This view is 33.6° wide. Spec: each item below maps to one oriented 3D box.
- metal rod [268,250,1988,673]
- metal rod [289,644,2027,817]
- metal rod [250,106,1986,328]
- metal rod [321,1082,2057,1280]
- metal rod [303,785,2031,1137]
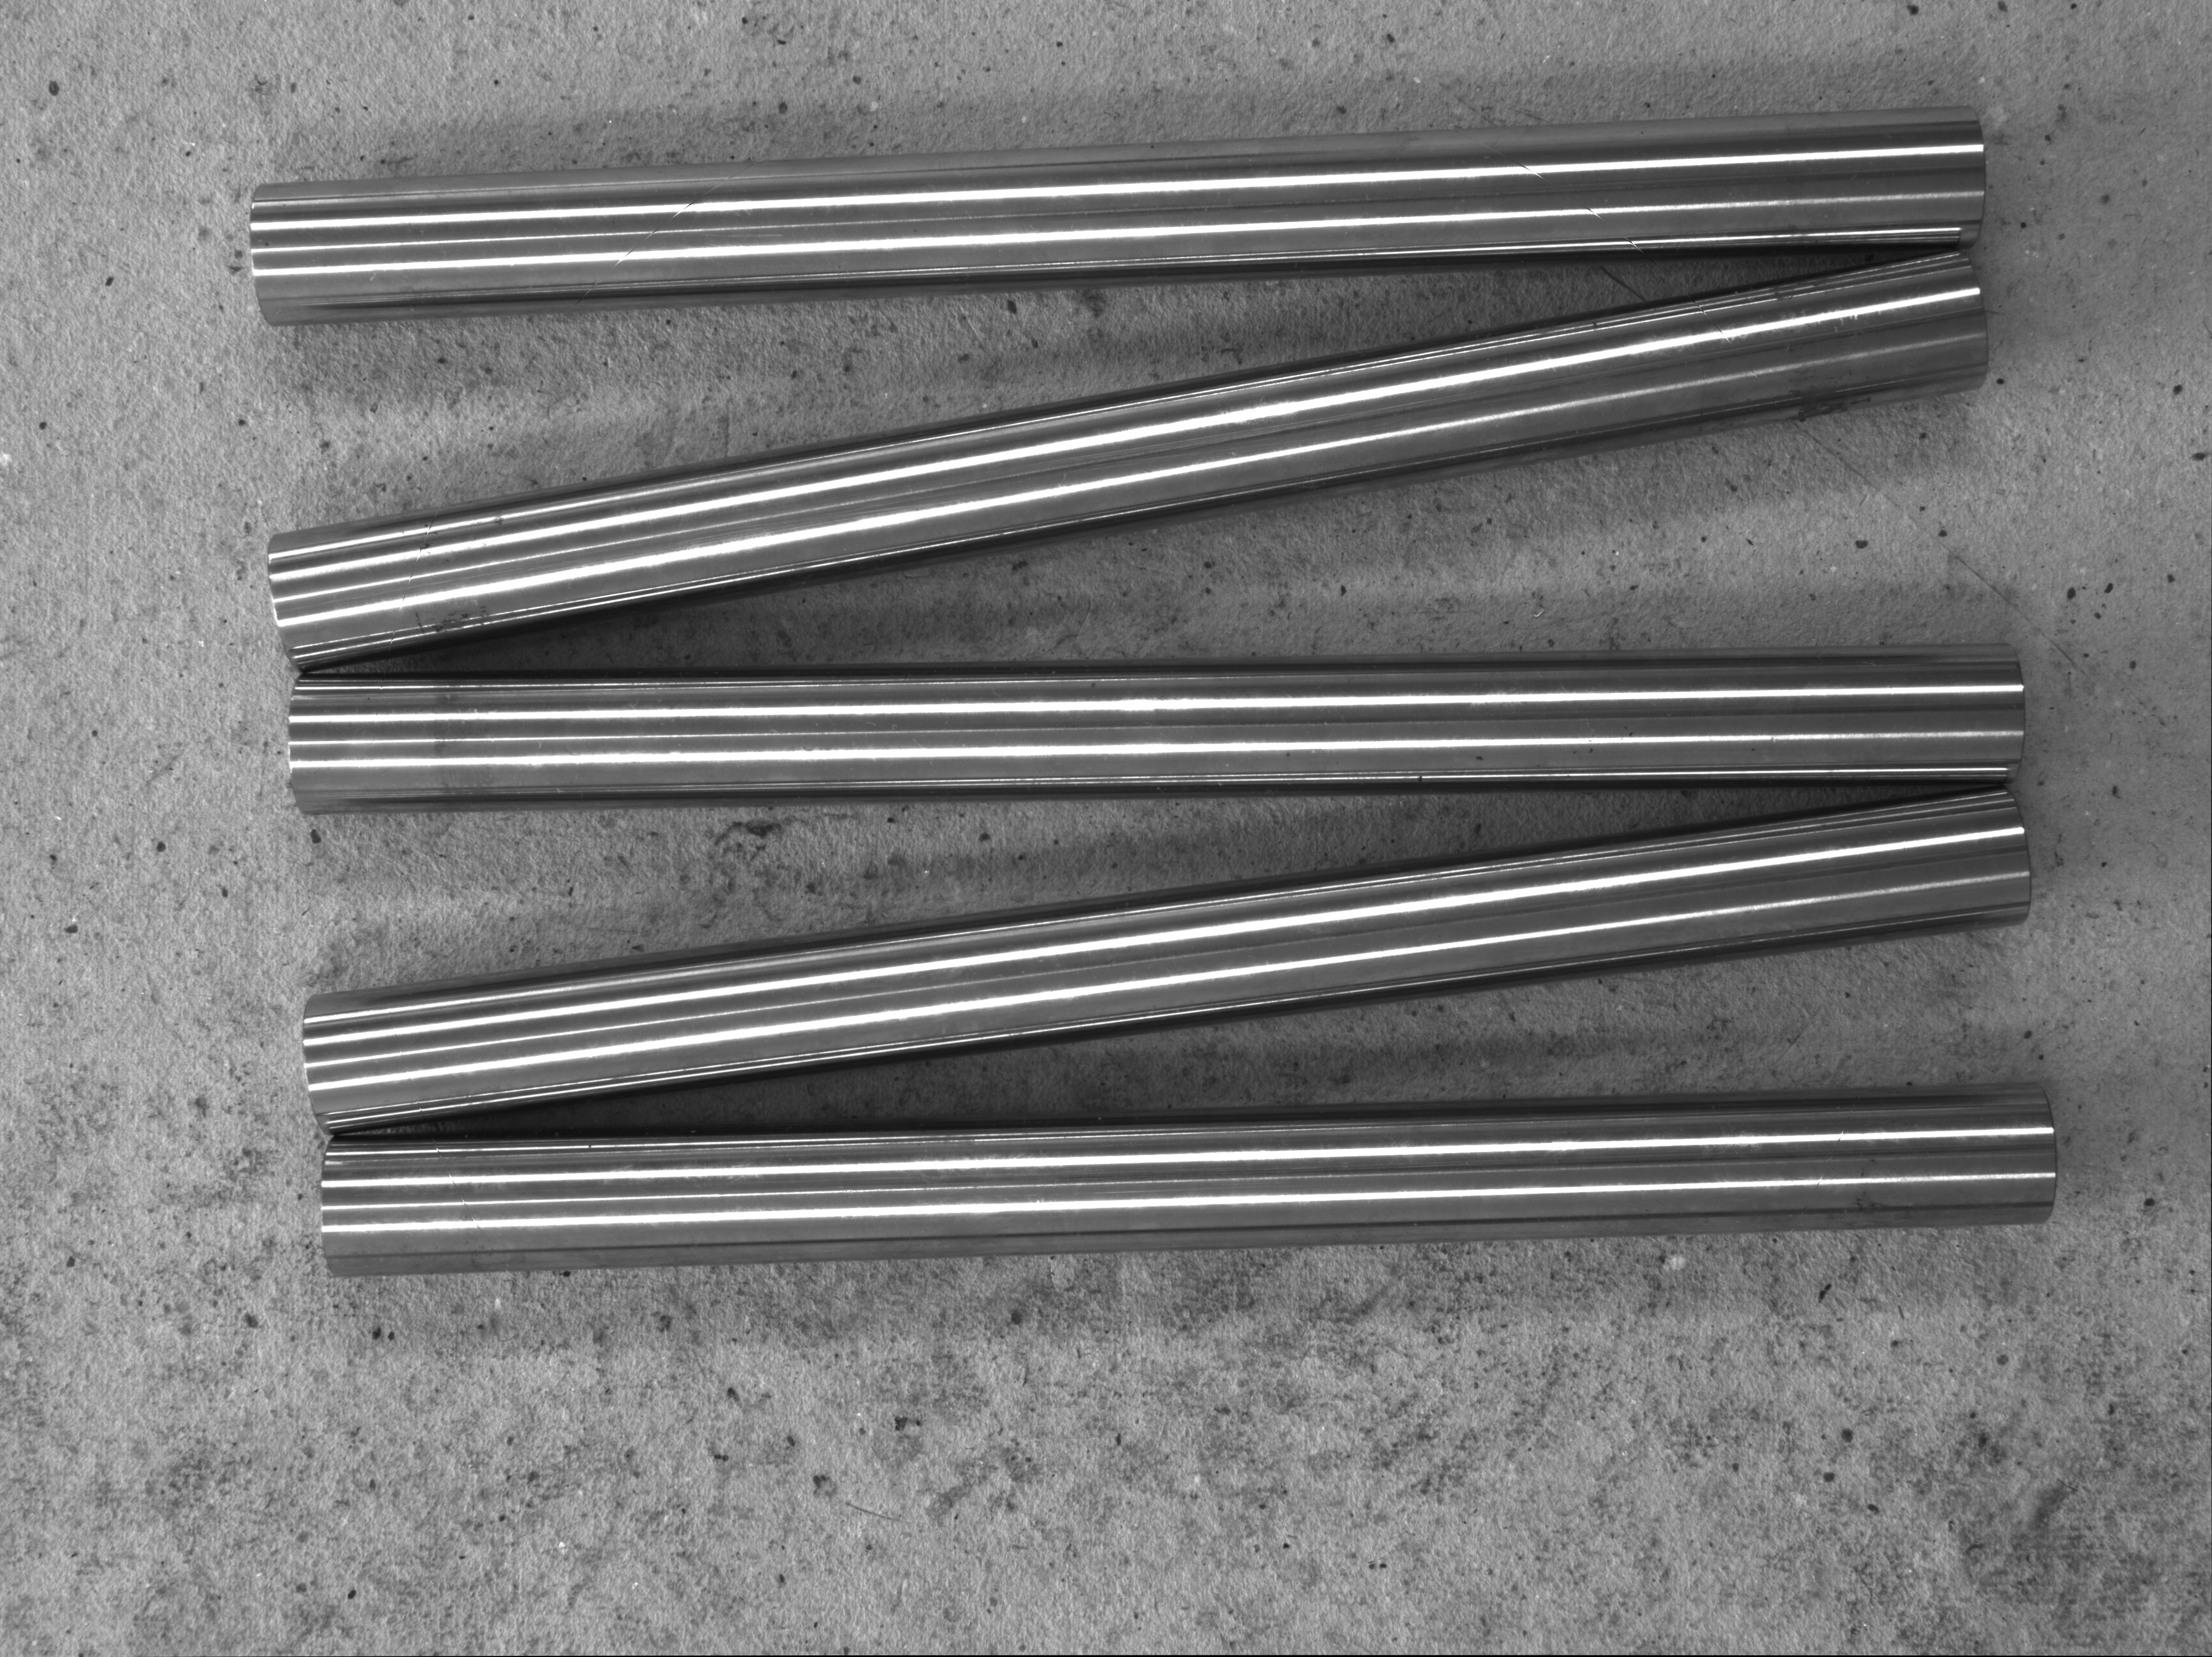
[{"bbox_3d":[0.004,-0.065,0.646,0.300,0.025,0.025,-10,90,0],"label":"metal rod"},{"bbox_3d":[0.009,-0.017,0.645,0.300,0.025,0.025,-1,90,0],"label":"metal rod"},{"bbox_3d":[0.002,-0.108,0.646,0.300,0.025,0.025,-3,90,0],"label":"metal rod"},{"bbox_3d":[0.015,0.062,0.645,0.300,0.025,0.025,-2,90,0],"label":"metal rod"},{"bbox_3d":[0.011,0.023,0.645,0.300,0.025,0.025,-7,90,0],"label":"metal rod"}]
